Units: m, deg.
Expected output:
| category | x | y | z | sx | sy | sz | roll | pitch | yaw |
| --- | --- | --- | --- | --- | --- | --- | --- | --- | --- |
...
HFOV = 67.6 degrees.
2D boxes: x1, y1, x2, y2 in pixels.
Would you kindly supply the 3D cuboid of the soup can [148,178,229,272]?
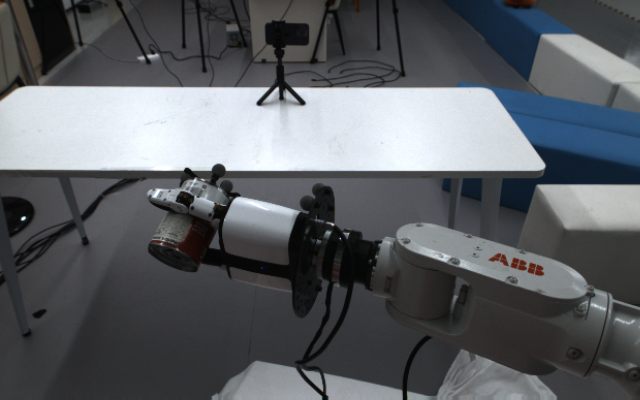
| category | x | y | z | sx | sy | sz | roll | pitch | yaw |
| --- | --- | --- | --- | --- | --- | --- | --- | --- | --- |
| soup can | -0.162 | 0.032 | 0.612 | 0.067 | 0.067 | 0.101 | 12 | 59 | 14 |
